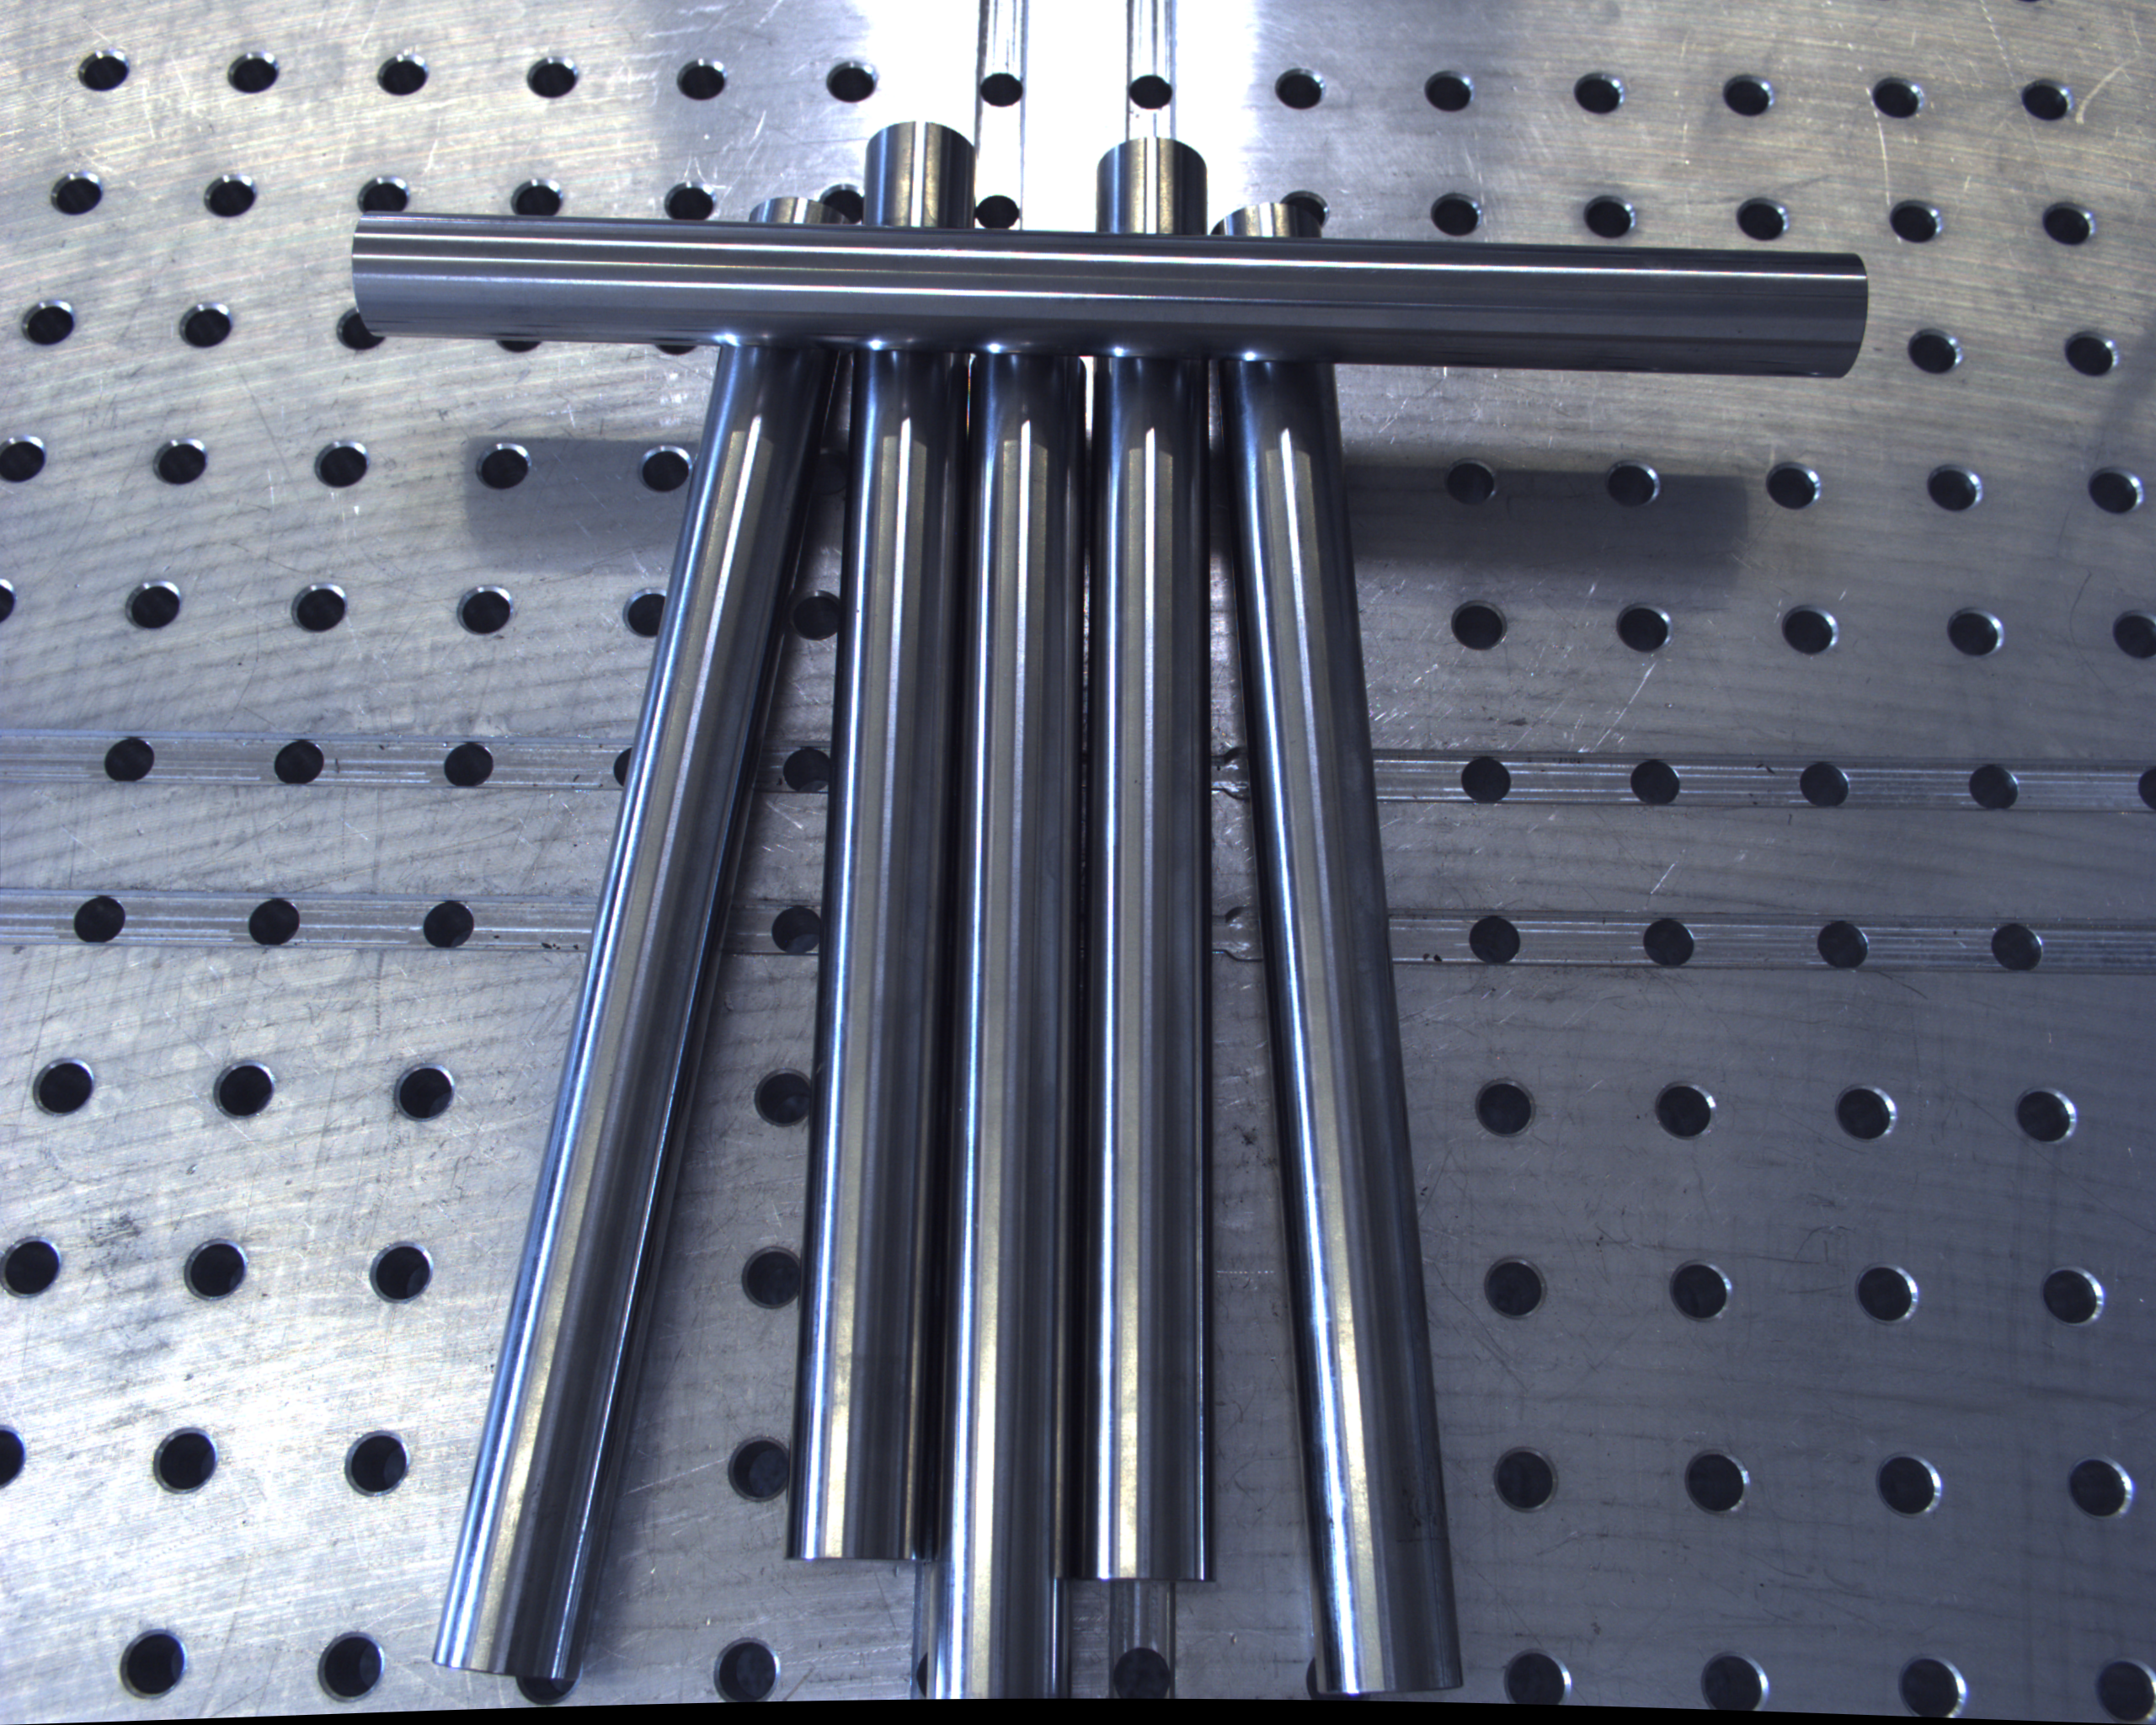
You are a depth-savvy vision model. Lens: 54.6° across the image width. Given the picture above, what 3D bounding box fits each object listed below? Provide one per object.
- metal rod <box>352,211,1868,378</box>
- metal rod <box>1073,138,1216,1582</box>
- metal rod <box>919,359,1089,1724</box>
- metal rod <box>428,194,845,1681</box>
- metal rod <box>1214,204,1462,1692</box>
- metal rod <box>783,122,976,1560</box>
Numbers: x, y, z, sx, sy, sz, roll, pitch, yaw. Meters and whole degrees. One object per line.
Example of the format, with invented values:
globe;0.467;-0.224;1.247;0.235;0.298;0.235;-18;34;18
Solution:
metal rod;0.006;-0.116;0.428;0.302;0.025;0.025;2;70;0
metal rod;0.014;-0.014;0.418;0.025;0.025;0.299;1;70;0
metal rod;-0.013;0.035;0.399;0.025;0.025;0.299;1;70;0
metal rod;-0.080;0.000;0.410;0.025;0.025;0.299;7;70;2
metal rod;0.048;0.002;0.412;0.025;0.025;0.299;-2;70;-1
metal rod;-0.037;-0.018;0.418;0.025;0.025;0.299;1;70;0
